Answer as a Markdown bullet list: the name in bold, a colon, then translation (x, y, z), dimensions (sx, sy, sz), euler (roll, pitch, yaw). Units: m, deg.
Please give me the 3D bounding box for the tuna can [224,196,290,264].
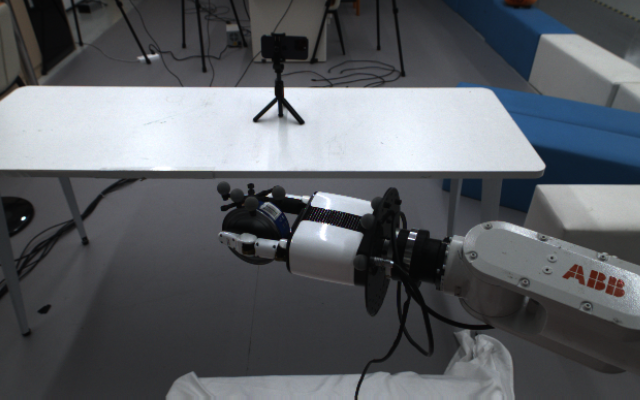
- **tuna can**: translation (-0.082, 0.040, 0.640), dimensions (0.085, 0.085, 0.034), euler (14, 30, 16)
